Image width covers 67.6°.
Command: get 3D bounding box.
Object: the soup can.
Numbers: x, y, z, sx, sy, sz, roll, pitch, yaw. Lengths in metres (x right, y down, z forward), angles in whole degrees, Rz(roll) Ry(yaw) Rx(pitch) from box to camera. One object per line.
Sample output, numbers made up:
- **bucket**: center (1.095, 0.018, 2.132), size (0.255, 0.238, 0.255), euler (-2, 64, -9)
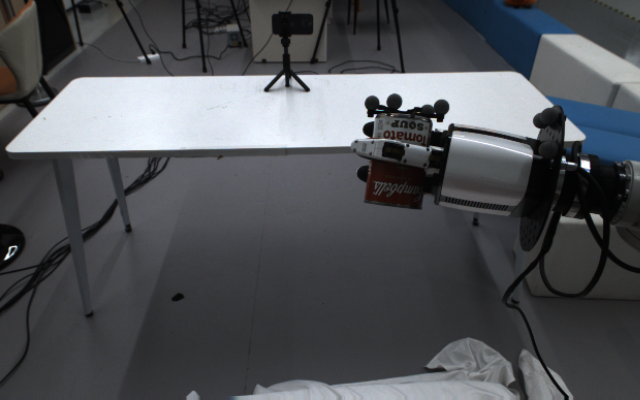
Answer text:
- **soup can**: center (0.092, -0.043, 0.557), size (0.067, 0.101, 0.067), euler (7, 3, 0)
